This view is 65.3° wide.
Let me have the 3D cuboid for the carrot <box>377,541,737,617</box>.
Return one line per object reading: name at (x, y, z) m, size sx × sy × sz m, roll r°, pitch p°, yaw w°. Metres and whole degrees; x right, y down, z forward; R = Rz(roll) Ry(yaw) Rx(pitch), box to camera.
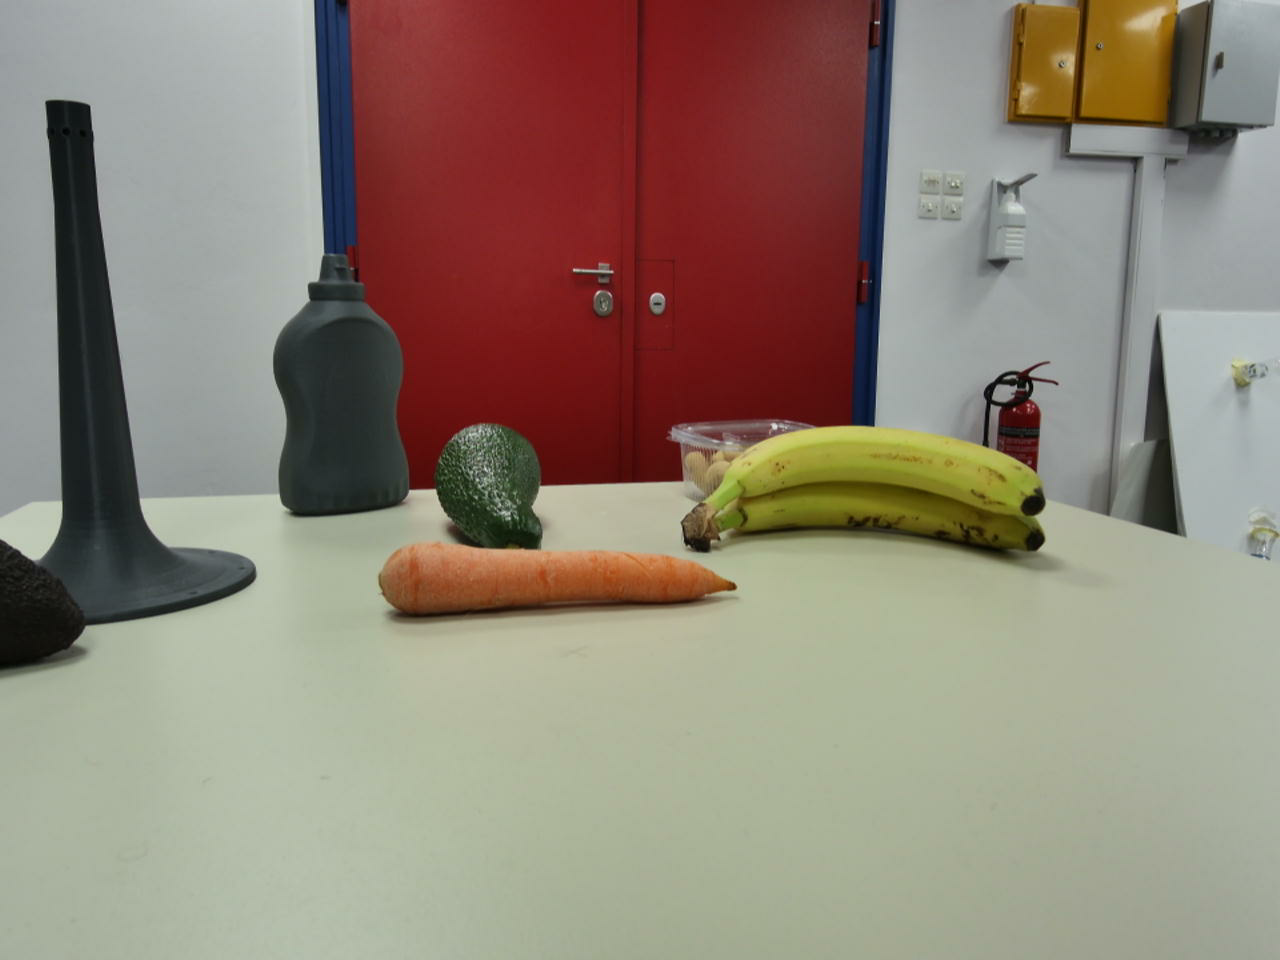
carrot at (-0.041, 0.050, 0.546) m, size 0.196 × 0.041 × 0.039 m, roll -2°, pitch 7°, yaw -13°
